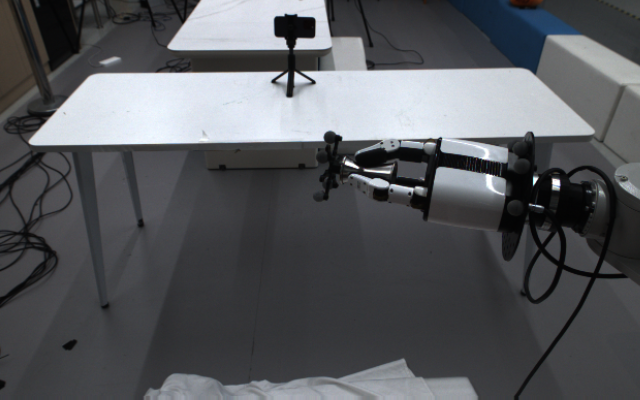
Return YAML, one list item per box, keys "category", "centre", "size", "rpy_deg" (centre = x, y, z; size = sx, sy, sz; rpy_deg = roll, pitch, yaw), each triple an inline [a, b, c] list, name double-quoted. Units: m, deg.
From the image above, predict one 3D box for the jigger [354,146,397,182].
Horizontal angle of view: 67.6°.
- category: "jigger"
  centre: [0.070, -0.037, 0.638]
  size: [0.071, 0.043, 0.043]
  rpy_deg: [10, 36, 15]
